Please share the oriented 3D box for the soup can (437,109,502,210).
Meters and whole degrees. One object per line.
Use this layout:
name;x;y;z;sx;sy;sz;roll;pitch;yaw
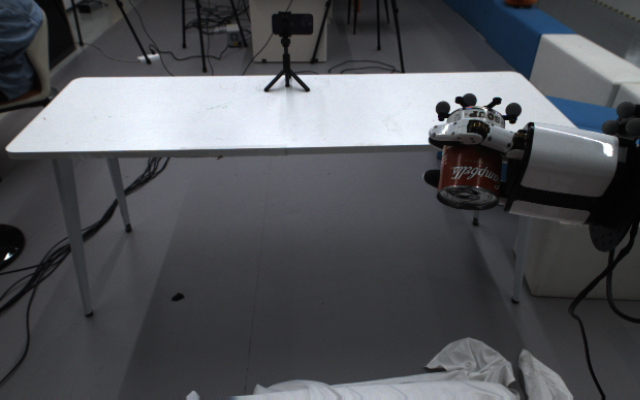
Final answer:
soup can;0.175;-0.047;0.553;0.067;0.067;0.101;9;70;10
